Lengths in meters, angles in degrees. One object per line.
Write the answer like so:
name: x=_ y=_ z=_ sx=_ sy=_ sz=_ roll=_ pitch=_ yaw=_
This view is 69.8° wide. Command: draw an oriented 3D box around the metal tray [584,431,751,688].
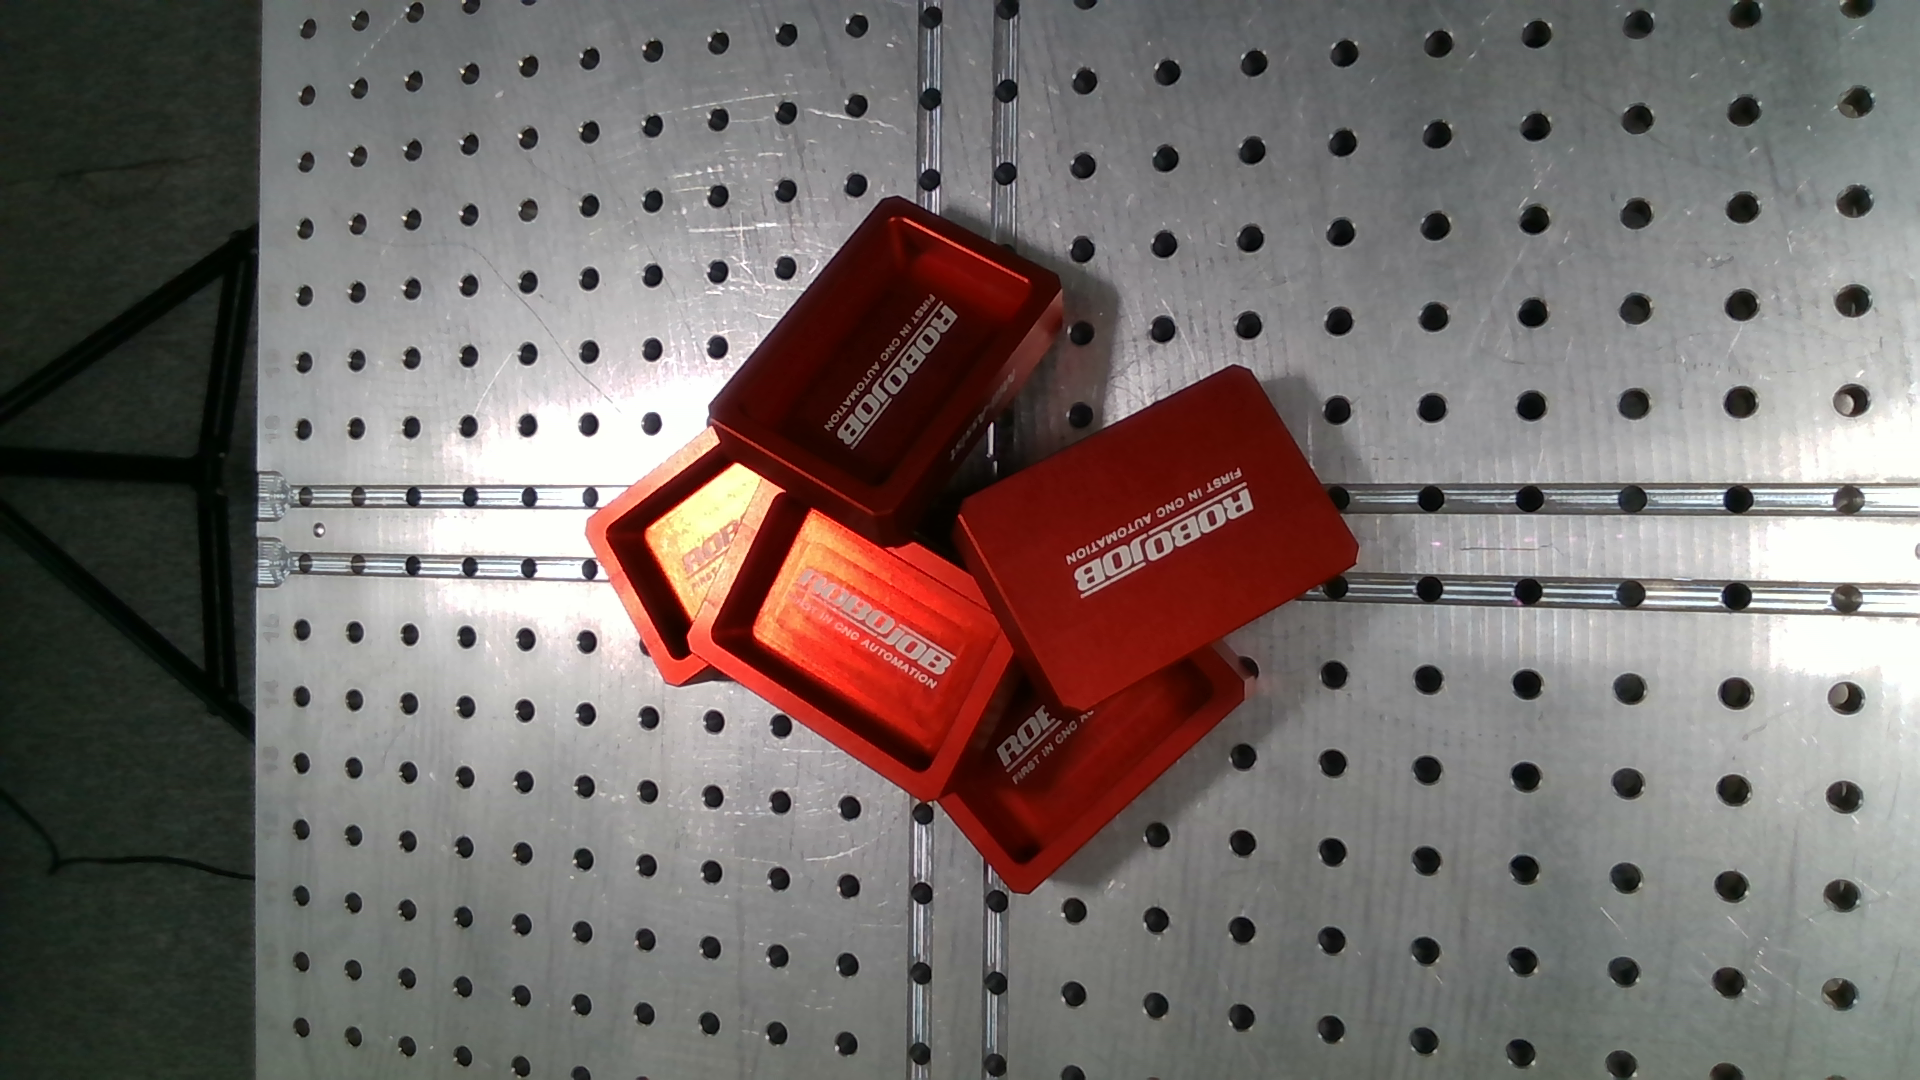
metal tray: x=-0.097 y=-0.004 z=0.621 sx=0.130 sy=0.030 sz=0.090 roll=-34 pitch=79 yaw=17

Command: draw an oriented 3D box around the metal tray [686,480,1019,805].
metal tray: x=-0.040 y=0.037 z=0.568 sx=0.130 sy=0.030 sz=0.090 roll=30 pitch=100 yaw=18

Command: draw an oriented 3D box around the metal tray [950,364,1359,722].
metal tray: x=0.073 y=0.001 z=0.526 sx=0.130 sy=0.030 sz=0.090 roll=-27 pitch=80 yaw=-12

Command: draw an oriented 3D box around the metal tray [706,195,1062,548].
metal tray: x=-0.029 y=-0.072 z=0.563 sx=0.090 sy=0.030 sz=0.130 roll=30 pitch=70 yaw=18

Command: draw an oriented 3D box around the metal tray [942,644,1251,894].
metal tray: x=0.044 y=0.071 z=0.569 sx=0.130 sy=0.030 sz=0.090 roll=-45 pitch=76 yaw=15
